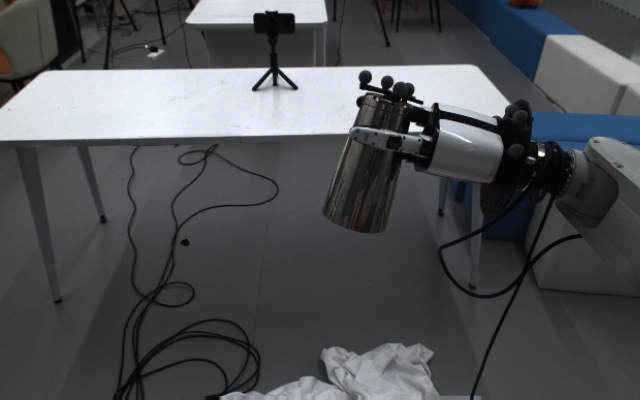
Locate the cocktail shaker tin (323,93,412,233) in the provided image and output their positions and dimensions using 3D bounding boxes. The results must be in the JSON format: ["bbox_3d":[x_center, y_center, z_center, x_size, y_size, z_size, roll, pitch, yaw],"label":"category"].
[{"bbox_3d":[0.070,-0.055,0.653,0.093,0.170,0.093,14,19,-5],"label":"cocktail shaker tin"}]
